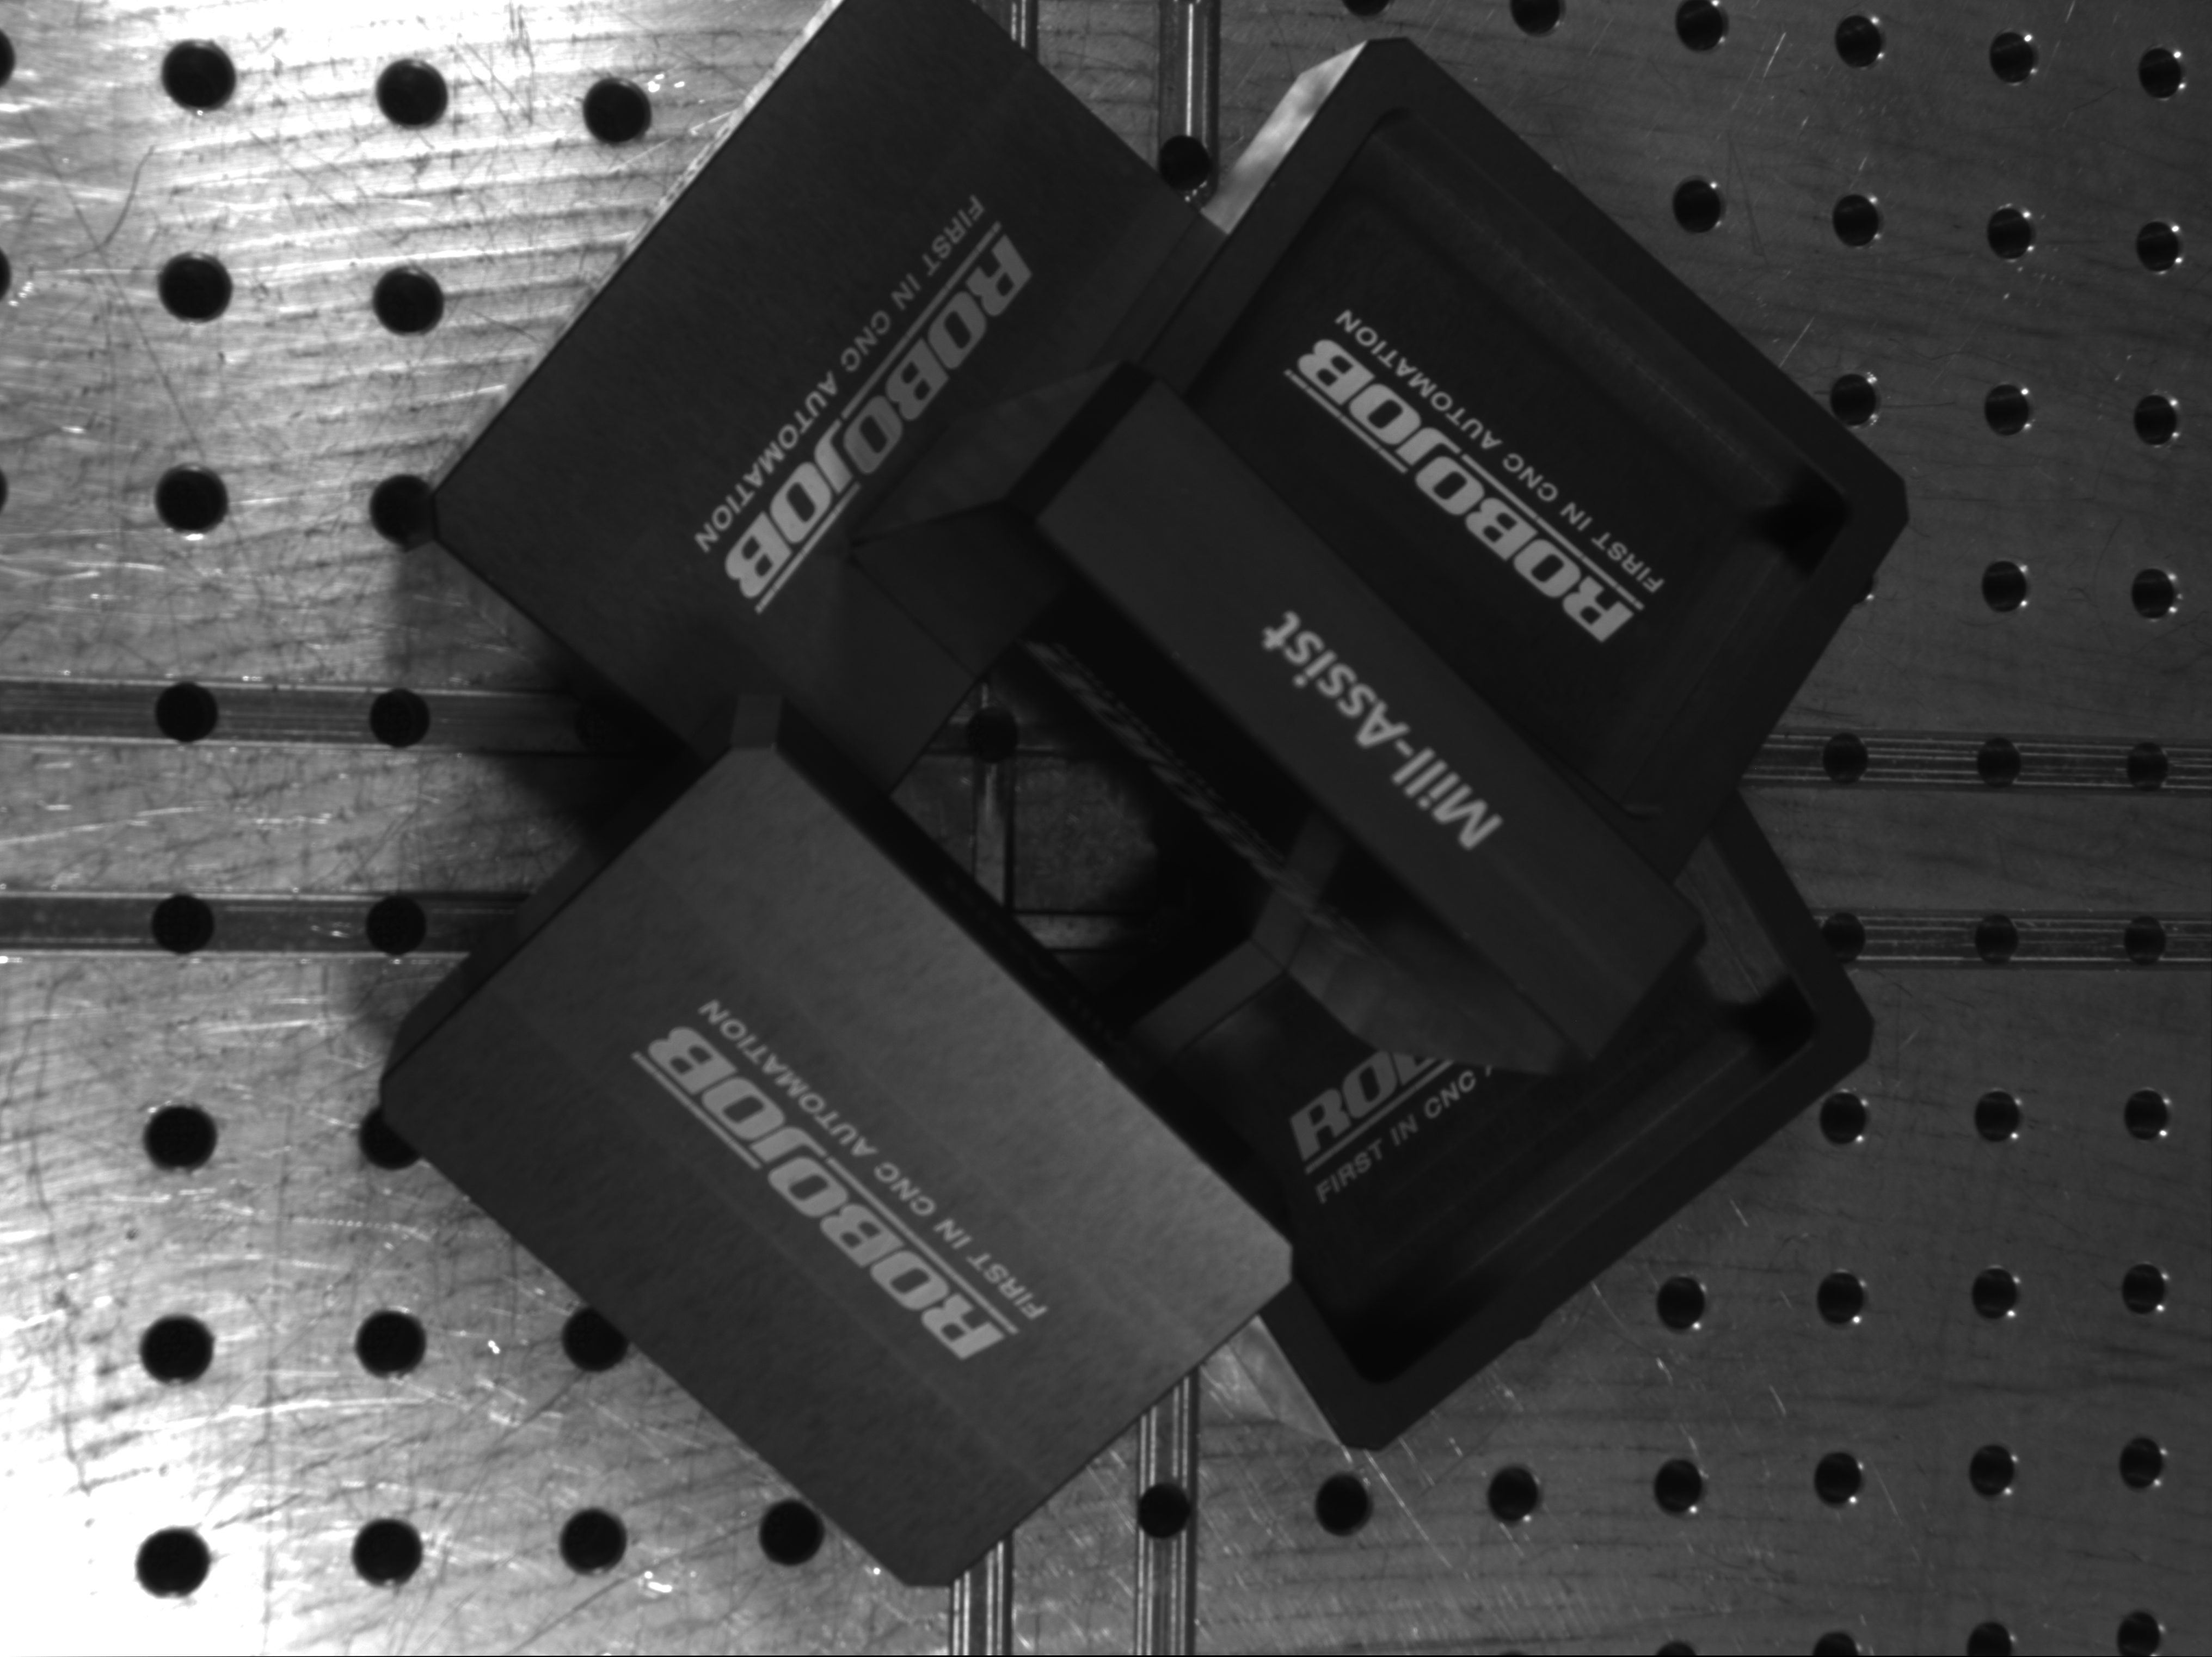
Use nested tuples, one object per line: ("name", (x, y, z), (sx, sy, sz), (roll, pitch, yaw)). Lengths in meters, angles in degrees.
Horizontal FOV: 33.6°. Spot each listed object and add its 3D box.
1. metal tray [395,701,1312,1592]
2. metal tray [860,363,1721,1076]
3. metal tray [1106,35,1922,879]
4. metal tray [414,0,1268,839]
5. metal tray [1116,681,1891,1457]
("metal tray", (-0.041, 0.054, 0.609), (0.090, 0.030, 0.130), (-43, 105, 11))
("metal tray", (0.028, -0.015, 0.589), (0.130, 0.090, 0.030), (43, 77, -15))
("metal tray", (0.068, -0.061, 0.636), (0.130, 0.030, 0.090), (38, 78, -16))
("metal tray", (-0.043, -0.072, 0.627), (0.090, 0.030, 0.130), (41, 77, -15))
("metal tray", (0.069, 0.040, 0.667), (0.130, 0.030, 0.090), (-35, 101, -17))
